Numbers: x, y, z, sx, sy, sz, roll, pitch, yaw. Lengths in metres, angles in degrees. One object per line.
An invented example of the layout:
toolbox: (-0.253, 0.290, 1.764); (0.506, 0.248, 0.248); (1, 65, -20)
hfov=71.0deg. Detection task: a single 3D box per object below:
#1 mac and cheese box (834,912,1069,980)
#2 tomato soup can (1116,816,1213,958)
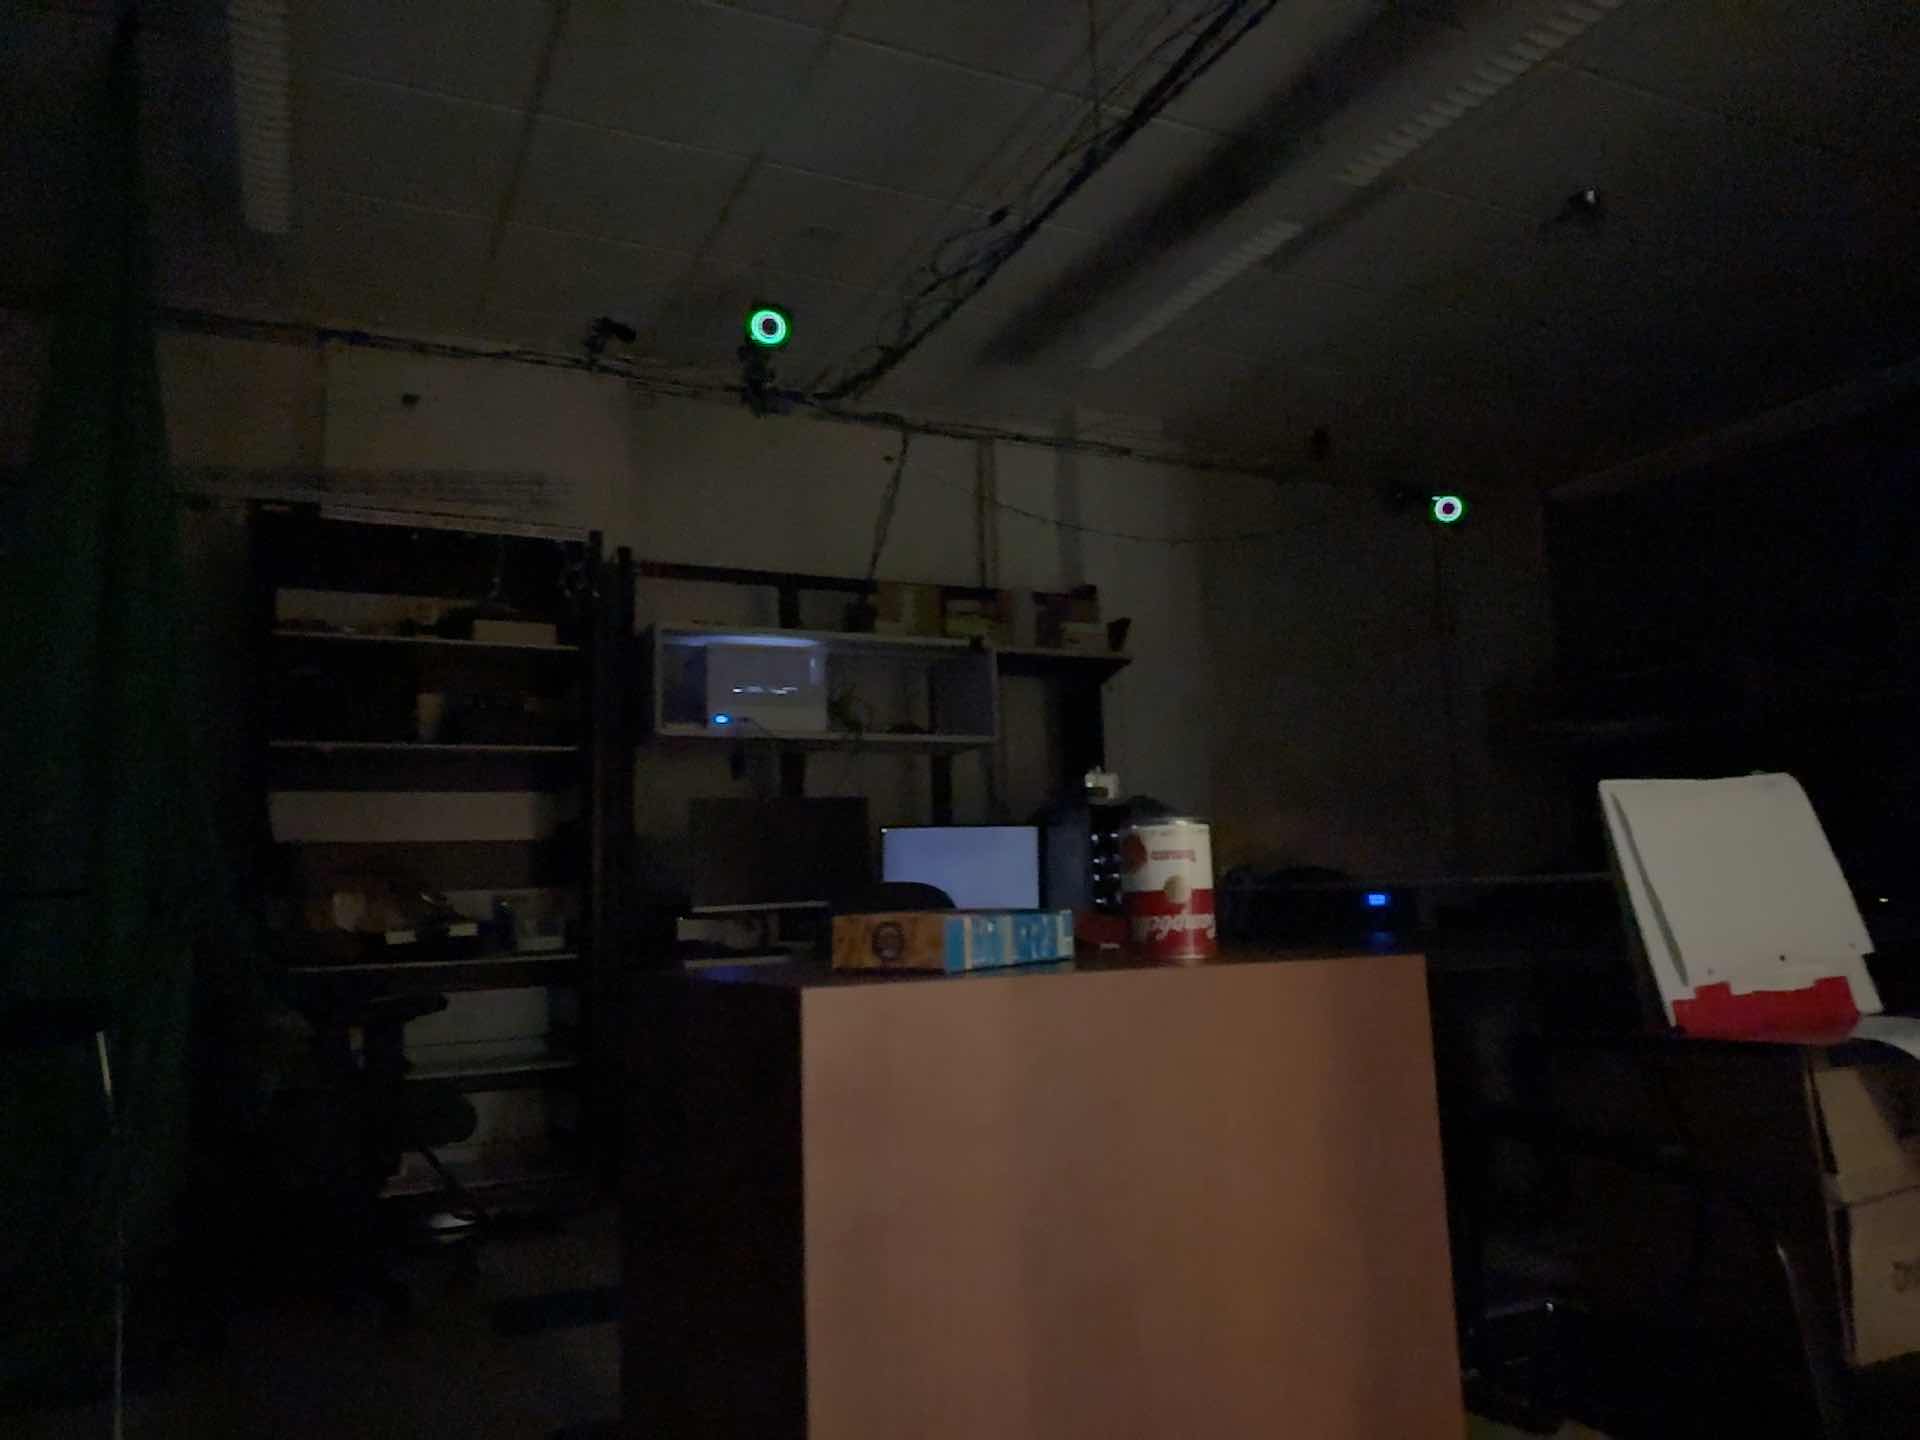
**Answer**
mac and cheese box: (-0.001, 0.158, 0.955); (0.088, 0.035, 0.181); (-4, -7, 29)
tomato soup can: (0.151, 0.123, 0.999); (0.067, 0.102, 0.067); (-1, -5, 0)
